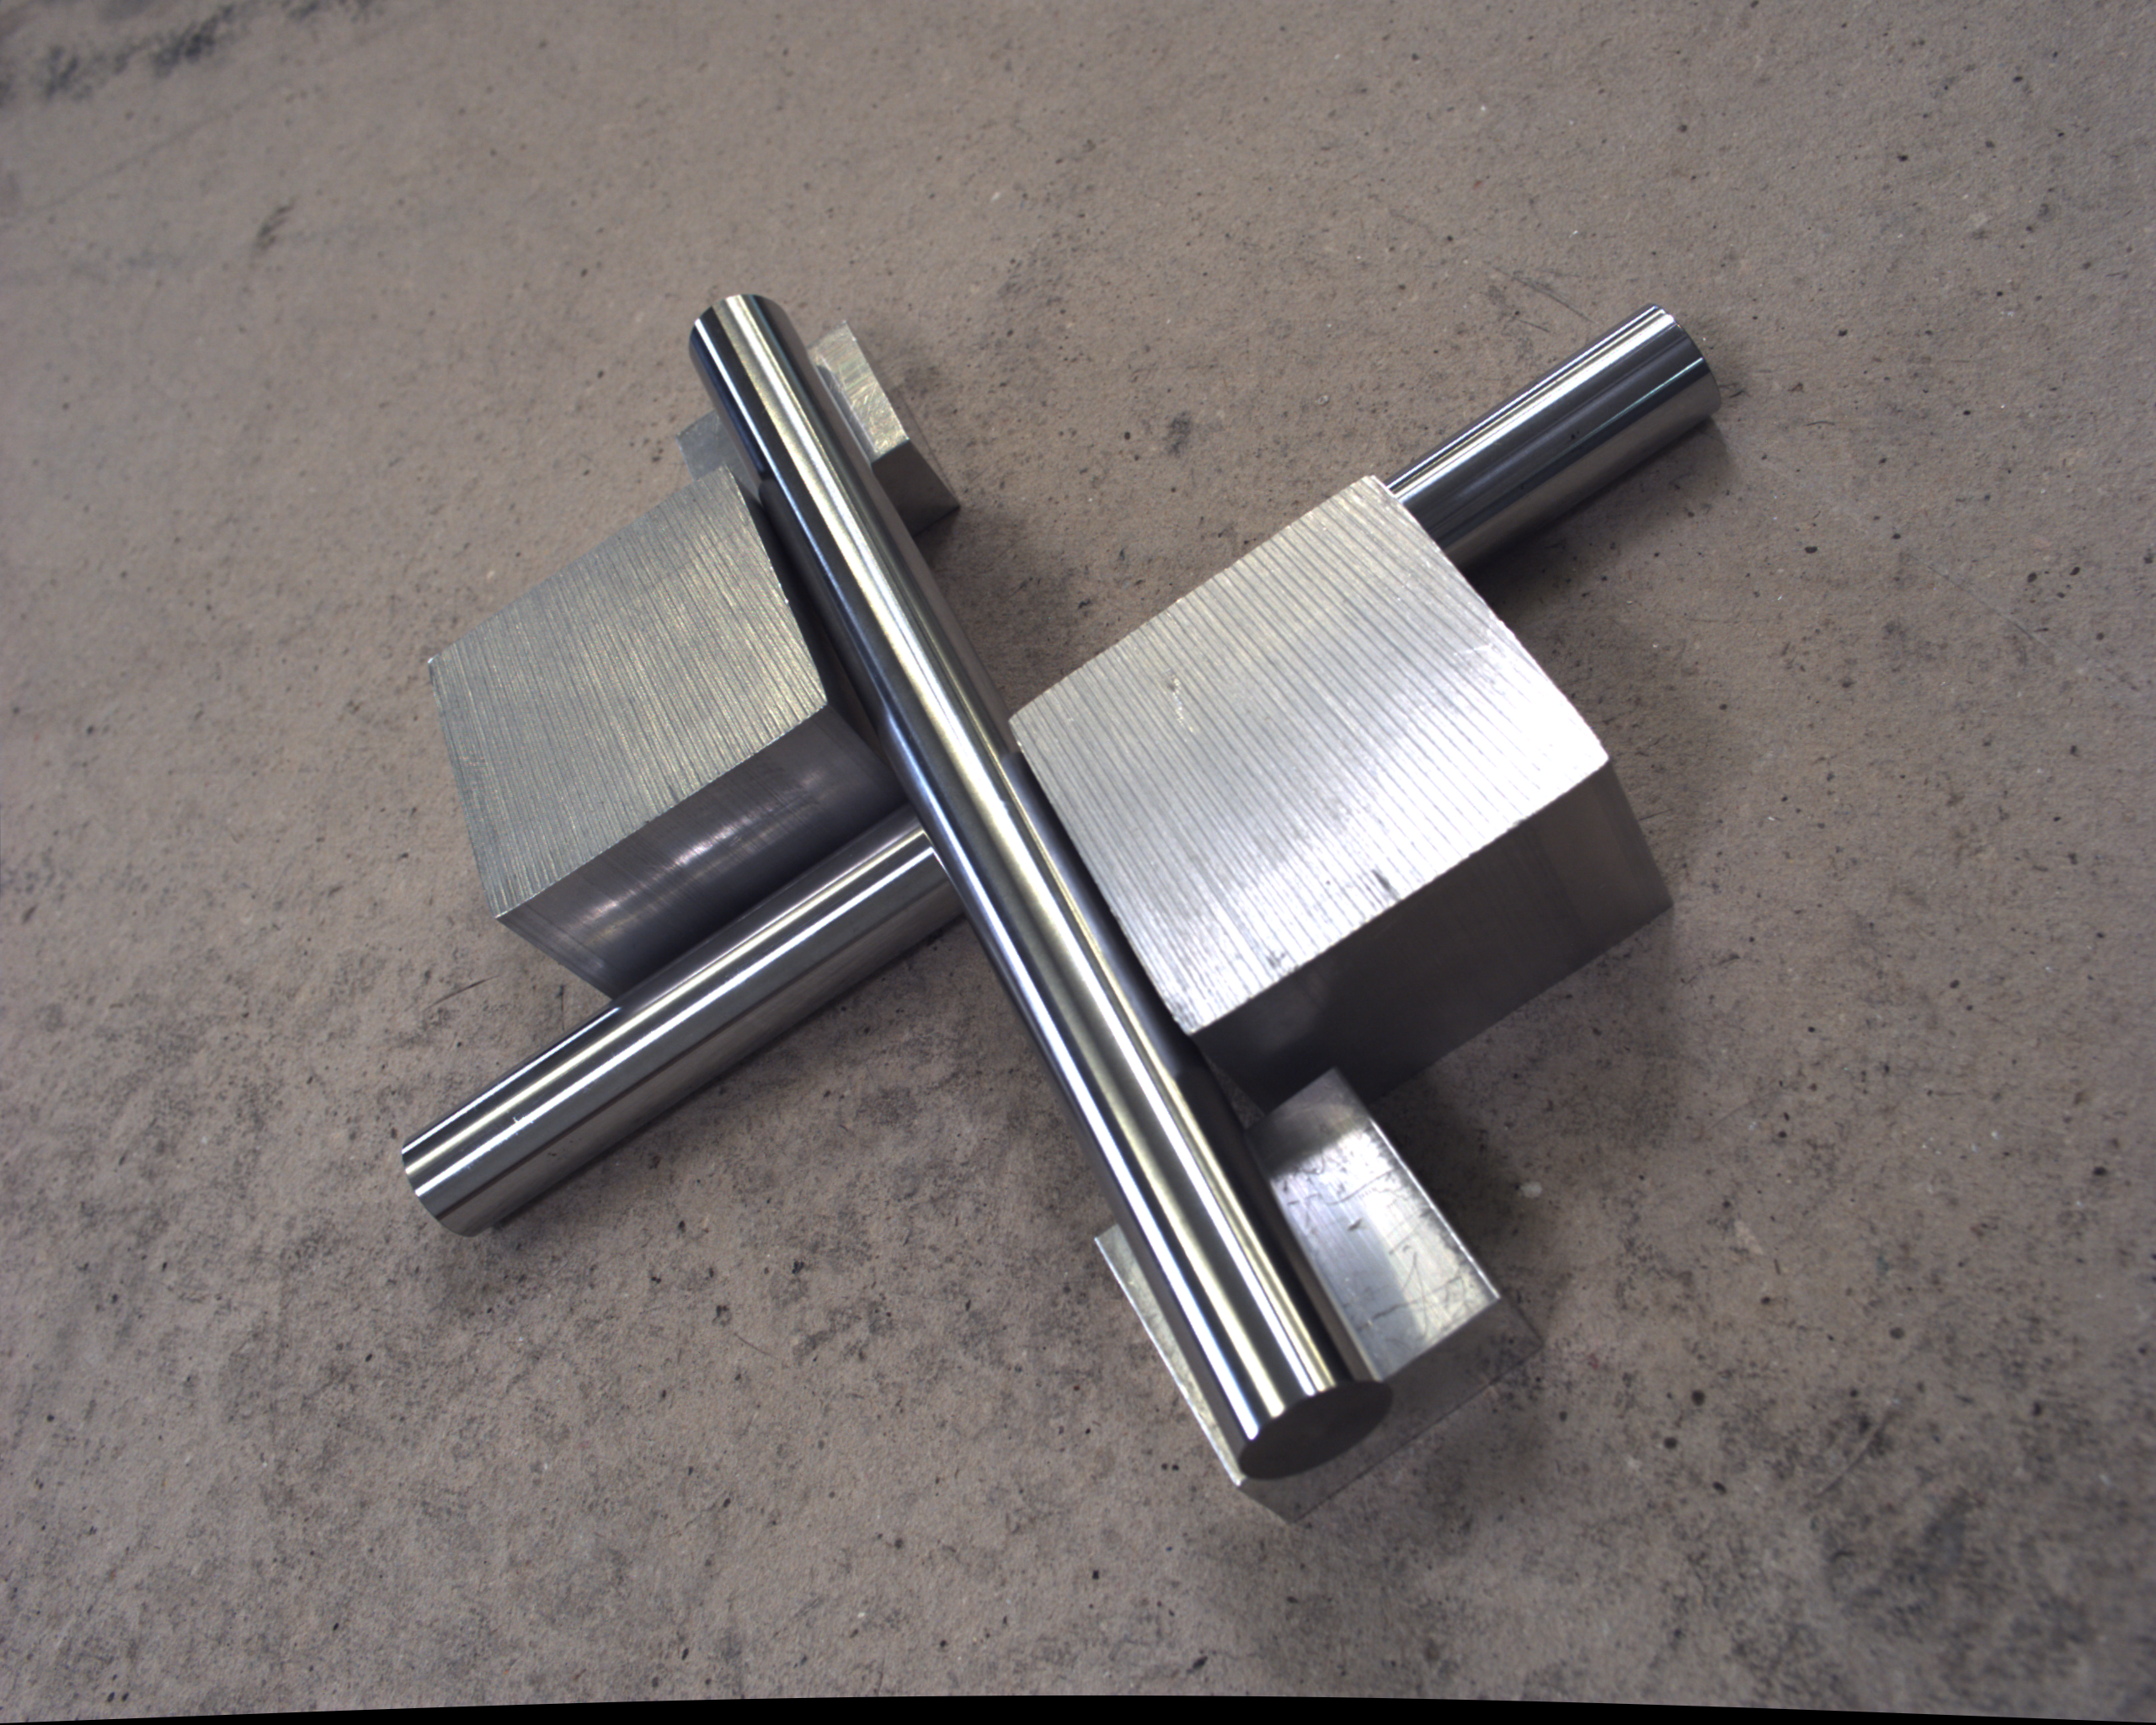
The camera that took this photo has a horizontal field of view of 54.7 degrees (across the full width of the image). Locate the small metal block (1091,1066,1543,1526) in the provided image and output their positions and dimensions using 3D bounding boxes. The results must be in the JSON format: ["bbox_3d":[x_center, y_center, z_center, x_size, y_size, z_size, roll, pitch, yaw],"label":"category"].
[{"bbox_3d":[0.038,0.071,0.343,0.050,0.025,0.050,-37,51,3],"label":"small metal block"}]

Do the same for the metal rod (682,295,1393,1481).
[{"bbox_3d":[-0.023,-0.020,0.396,0.025,0.025,0.300,-34,51,6],"label":"metal rod"}]

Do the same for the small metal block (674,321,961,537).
[{"bbox_3d":[-0.063,-0.093,0.496,0.050,0.025,0.050,-32,52,7],"label":"small metal block"}]

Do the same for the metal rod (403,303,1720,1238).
[{"bbox_3d":[-0.007,-0.015,0.419,0.300,0.025,0.025,-34,52,6],"label":"metal rod"}]

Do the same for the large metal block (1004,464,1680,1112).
[{"bbox_3d":[0.046,-0.010,0.371,0.080,0.050,0.080,-34,51,6],"label":"large metal block"}]

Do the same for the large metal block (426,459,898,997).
[{"bbox_3d":[-0.084,-0.026,0.447,0.080,0.050,0.080,-32,52,7],"label":"large metal block"}]
